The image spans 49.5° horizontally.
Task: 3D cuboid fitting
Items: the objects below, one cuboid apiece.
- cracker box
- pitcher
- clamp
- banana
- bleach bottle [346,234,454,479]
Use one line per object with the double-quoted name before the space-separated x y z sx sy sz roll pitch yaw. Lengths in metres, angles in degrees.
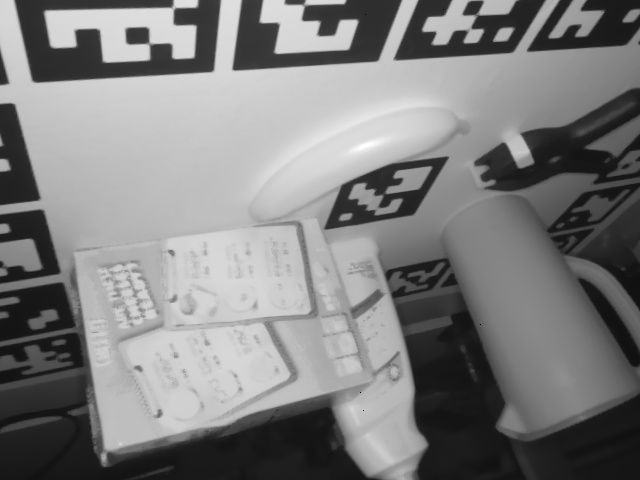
"cracker box" -0.064 0.078 0.607 0.216 0.164 0.071 -10 152 -21
"pitcher" 0.267 0.082 0.724 0.189 0.243 0.133 -17 151 -1
"clamp" 0.242 -0.091 0.675 0.166 0.036 0.121 -17 152 -3
"banana" 0.036 -0.075 0.587 0.196 0.039 0.074 -27 150 11
"bleach bottle" 0.077 0.118 0.704 0.104 0.251 0.067 -9 150 -18
